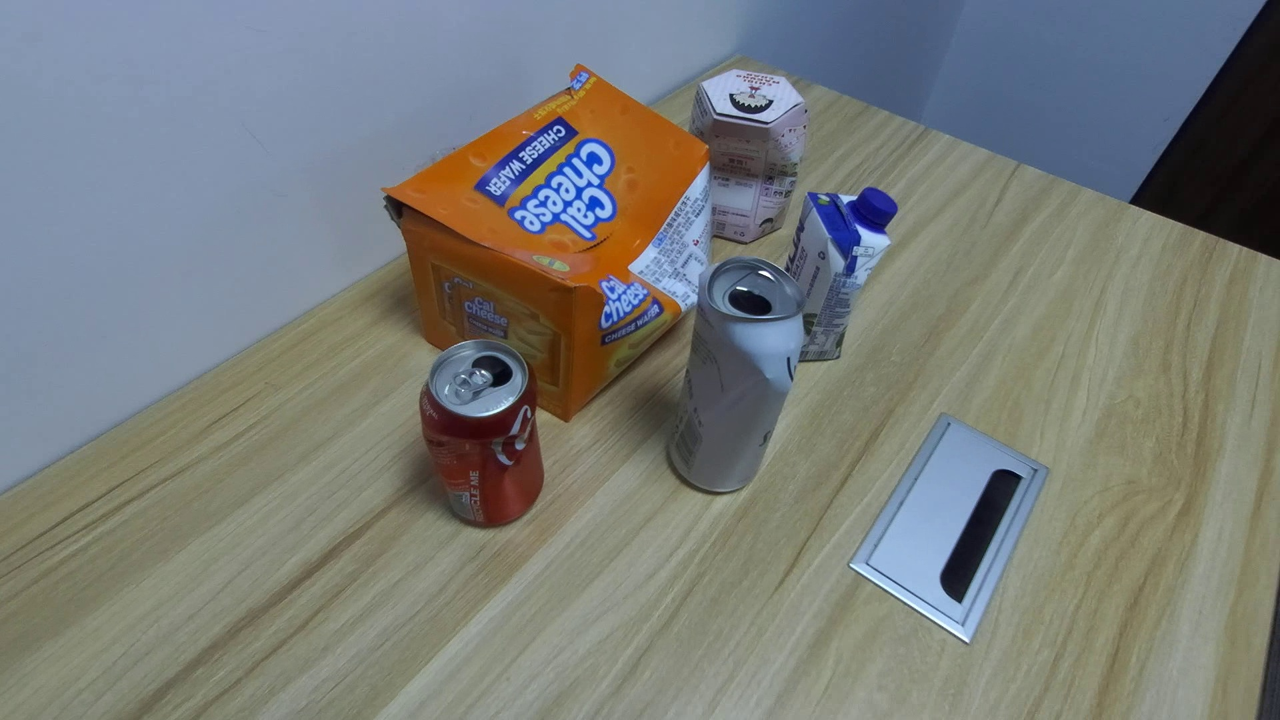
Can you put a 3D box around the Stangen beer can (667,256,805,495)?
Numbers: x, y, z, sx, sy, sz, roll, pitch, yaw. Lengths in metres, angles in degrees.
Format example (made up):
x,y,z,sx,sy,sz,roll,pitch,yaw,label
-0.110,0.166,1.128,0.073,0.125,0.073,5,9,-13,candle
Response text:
x,y,z,sx,sy,sz,roll,pitch,yaw,label
0.058,0.015,0.439,0.077,0.162,0.066,26,51,17,Stangen beer can

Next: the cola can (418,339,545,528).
x,y,z,sx,sy,sz,roll,pitch,yaw,label
-0.094,0.047,0.432,0.066,0.117,0.066,-3,47,-6,cola can

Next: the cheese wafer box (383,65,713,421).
x,y,z,sx,sy,sz,roll,pitch,yaw,label
-0.039,-0.093,0.540,0.190,0.145,0.219,27,52,19,cheese wafer box

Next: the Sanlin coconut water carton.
x,y,z,sx,sy,sz,roll,pitch,yaw,label
0.141,-0.063,0.529,0.058,0.142,0.078,0,47,-12,Sanlin coconut water carton

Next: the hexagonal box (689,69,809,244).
x,y,z,sx,sy,sz,roll,pitch,yaw,label
0.092,-0.175,0.629,0.090,0.134,0.091,-26,56,-22,hexagonal box
